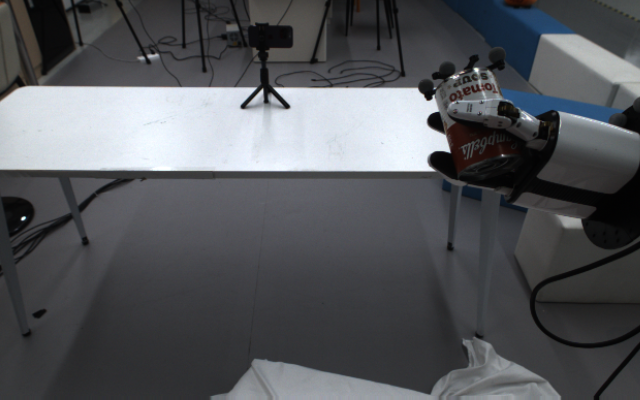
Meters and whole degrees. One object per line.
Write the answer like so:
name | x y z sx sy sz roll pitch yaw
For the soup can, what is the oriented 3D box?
soup can | 0.168 -0.080 0.516 0.067 0.067 0.101 -8 74 -14
